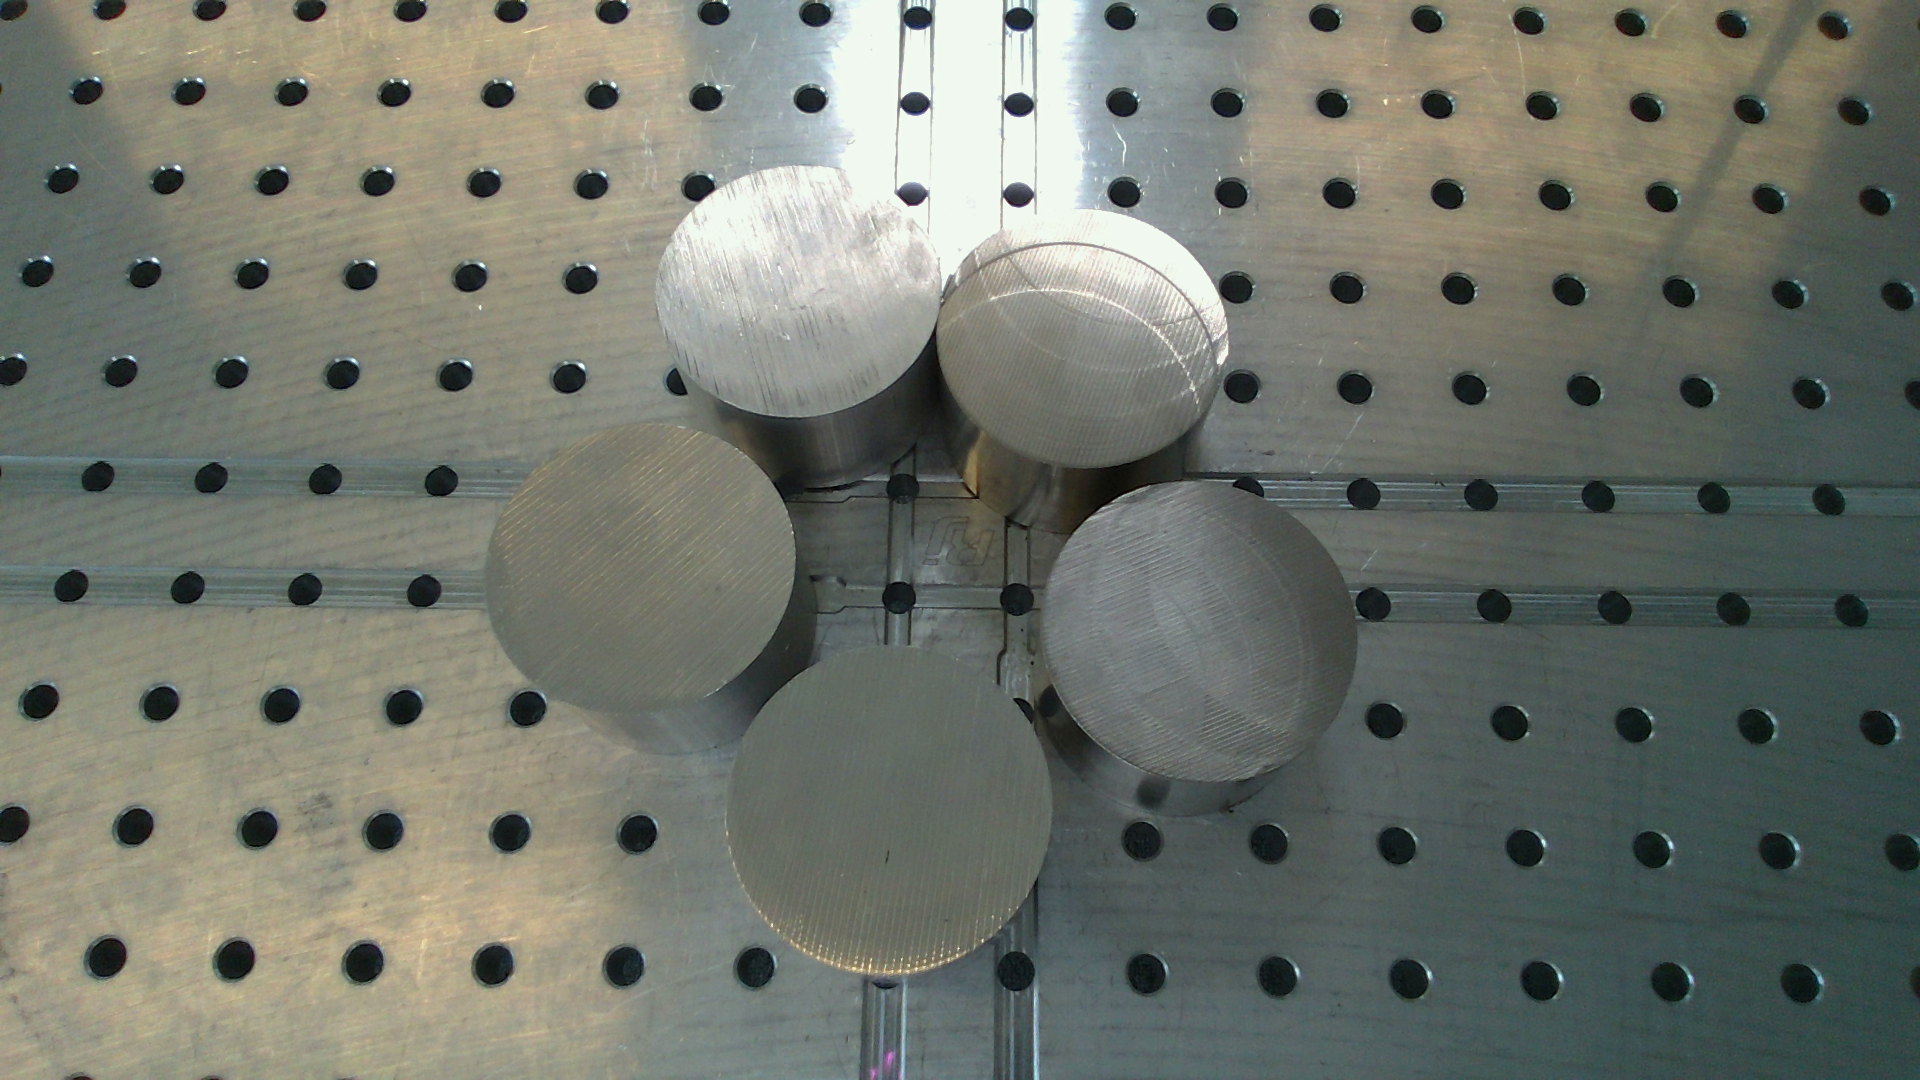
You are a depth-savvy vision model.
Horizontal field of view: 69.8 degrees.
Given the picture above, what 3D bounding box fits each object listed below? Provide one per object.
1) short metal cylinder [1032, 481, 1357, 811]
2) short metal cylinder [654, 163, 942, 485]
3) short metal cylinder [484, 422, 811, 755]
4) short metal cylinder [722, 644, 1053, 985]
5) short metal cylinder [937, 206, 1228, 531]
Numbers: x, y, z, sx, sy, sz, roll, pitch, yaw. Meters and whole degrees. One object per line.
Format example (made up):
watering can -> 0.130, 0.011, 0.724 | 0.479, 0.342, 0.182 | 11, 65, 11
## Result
short metal cylinder -> 0.061, 0.030, 0.372 | 0.080, 0.050, 0.080 | 0, 71, 0
short metal cylinder -> -0.045, -0.063, 0.406 | 0.080, 0.050, 0.080 | 0, 70, 0
short metal cylinder -> -0.082, 0.015, 0.378 | 0.080, 0.050, 0.080 | 0, 70, 0
short metal cylinder -> -0.017, 0.072, 0.356 | 0.080, 0.050, 0.080 | 0, 70, 1
short metal cylinder -> 0.034, -0.049, 0.401 | 0.080, 0.050, 0.080 | 0, 70, 0
